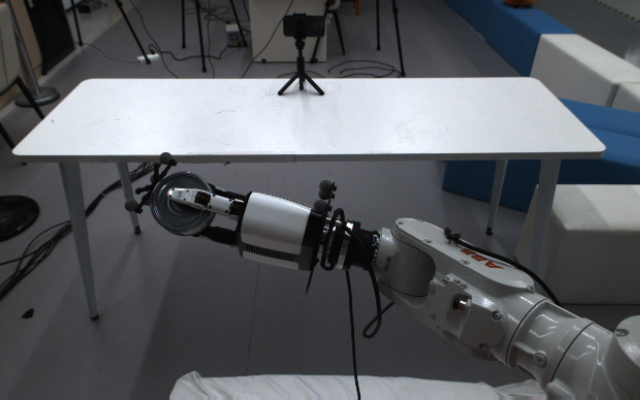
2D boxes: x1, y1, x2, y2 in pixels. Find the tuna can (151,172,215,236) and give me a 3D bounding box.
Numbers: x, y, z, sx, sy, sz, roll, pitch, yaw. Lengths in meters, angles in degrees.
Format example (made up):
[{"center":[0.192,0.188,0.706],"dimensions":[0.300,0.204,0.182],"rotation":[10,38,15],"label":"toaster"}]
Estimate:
[{"center":[-0.185,0.006,0.665],"dimensions":[0.085,0.034,0.085],"rotation":[1,78,-5],"label":"tuna can"}]
